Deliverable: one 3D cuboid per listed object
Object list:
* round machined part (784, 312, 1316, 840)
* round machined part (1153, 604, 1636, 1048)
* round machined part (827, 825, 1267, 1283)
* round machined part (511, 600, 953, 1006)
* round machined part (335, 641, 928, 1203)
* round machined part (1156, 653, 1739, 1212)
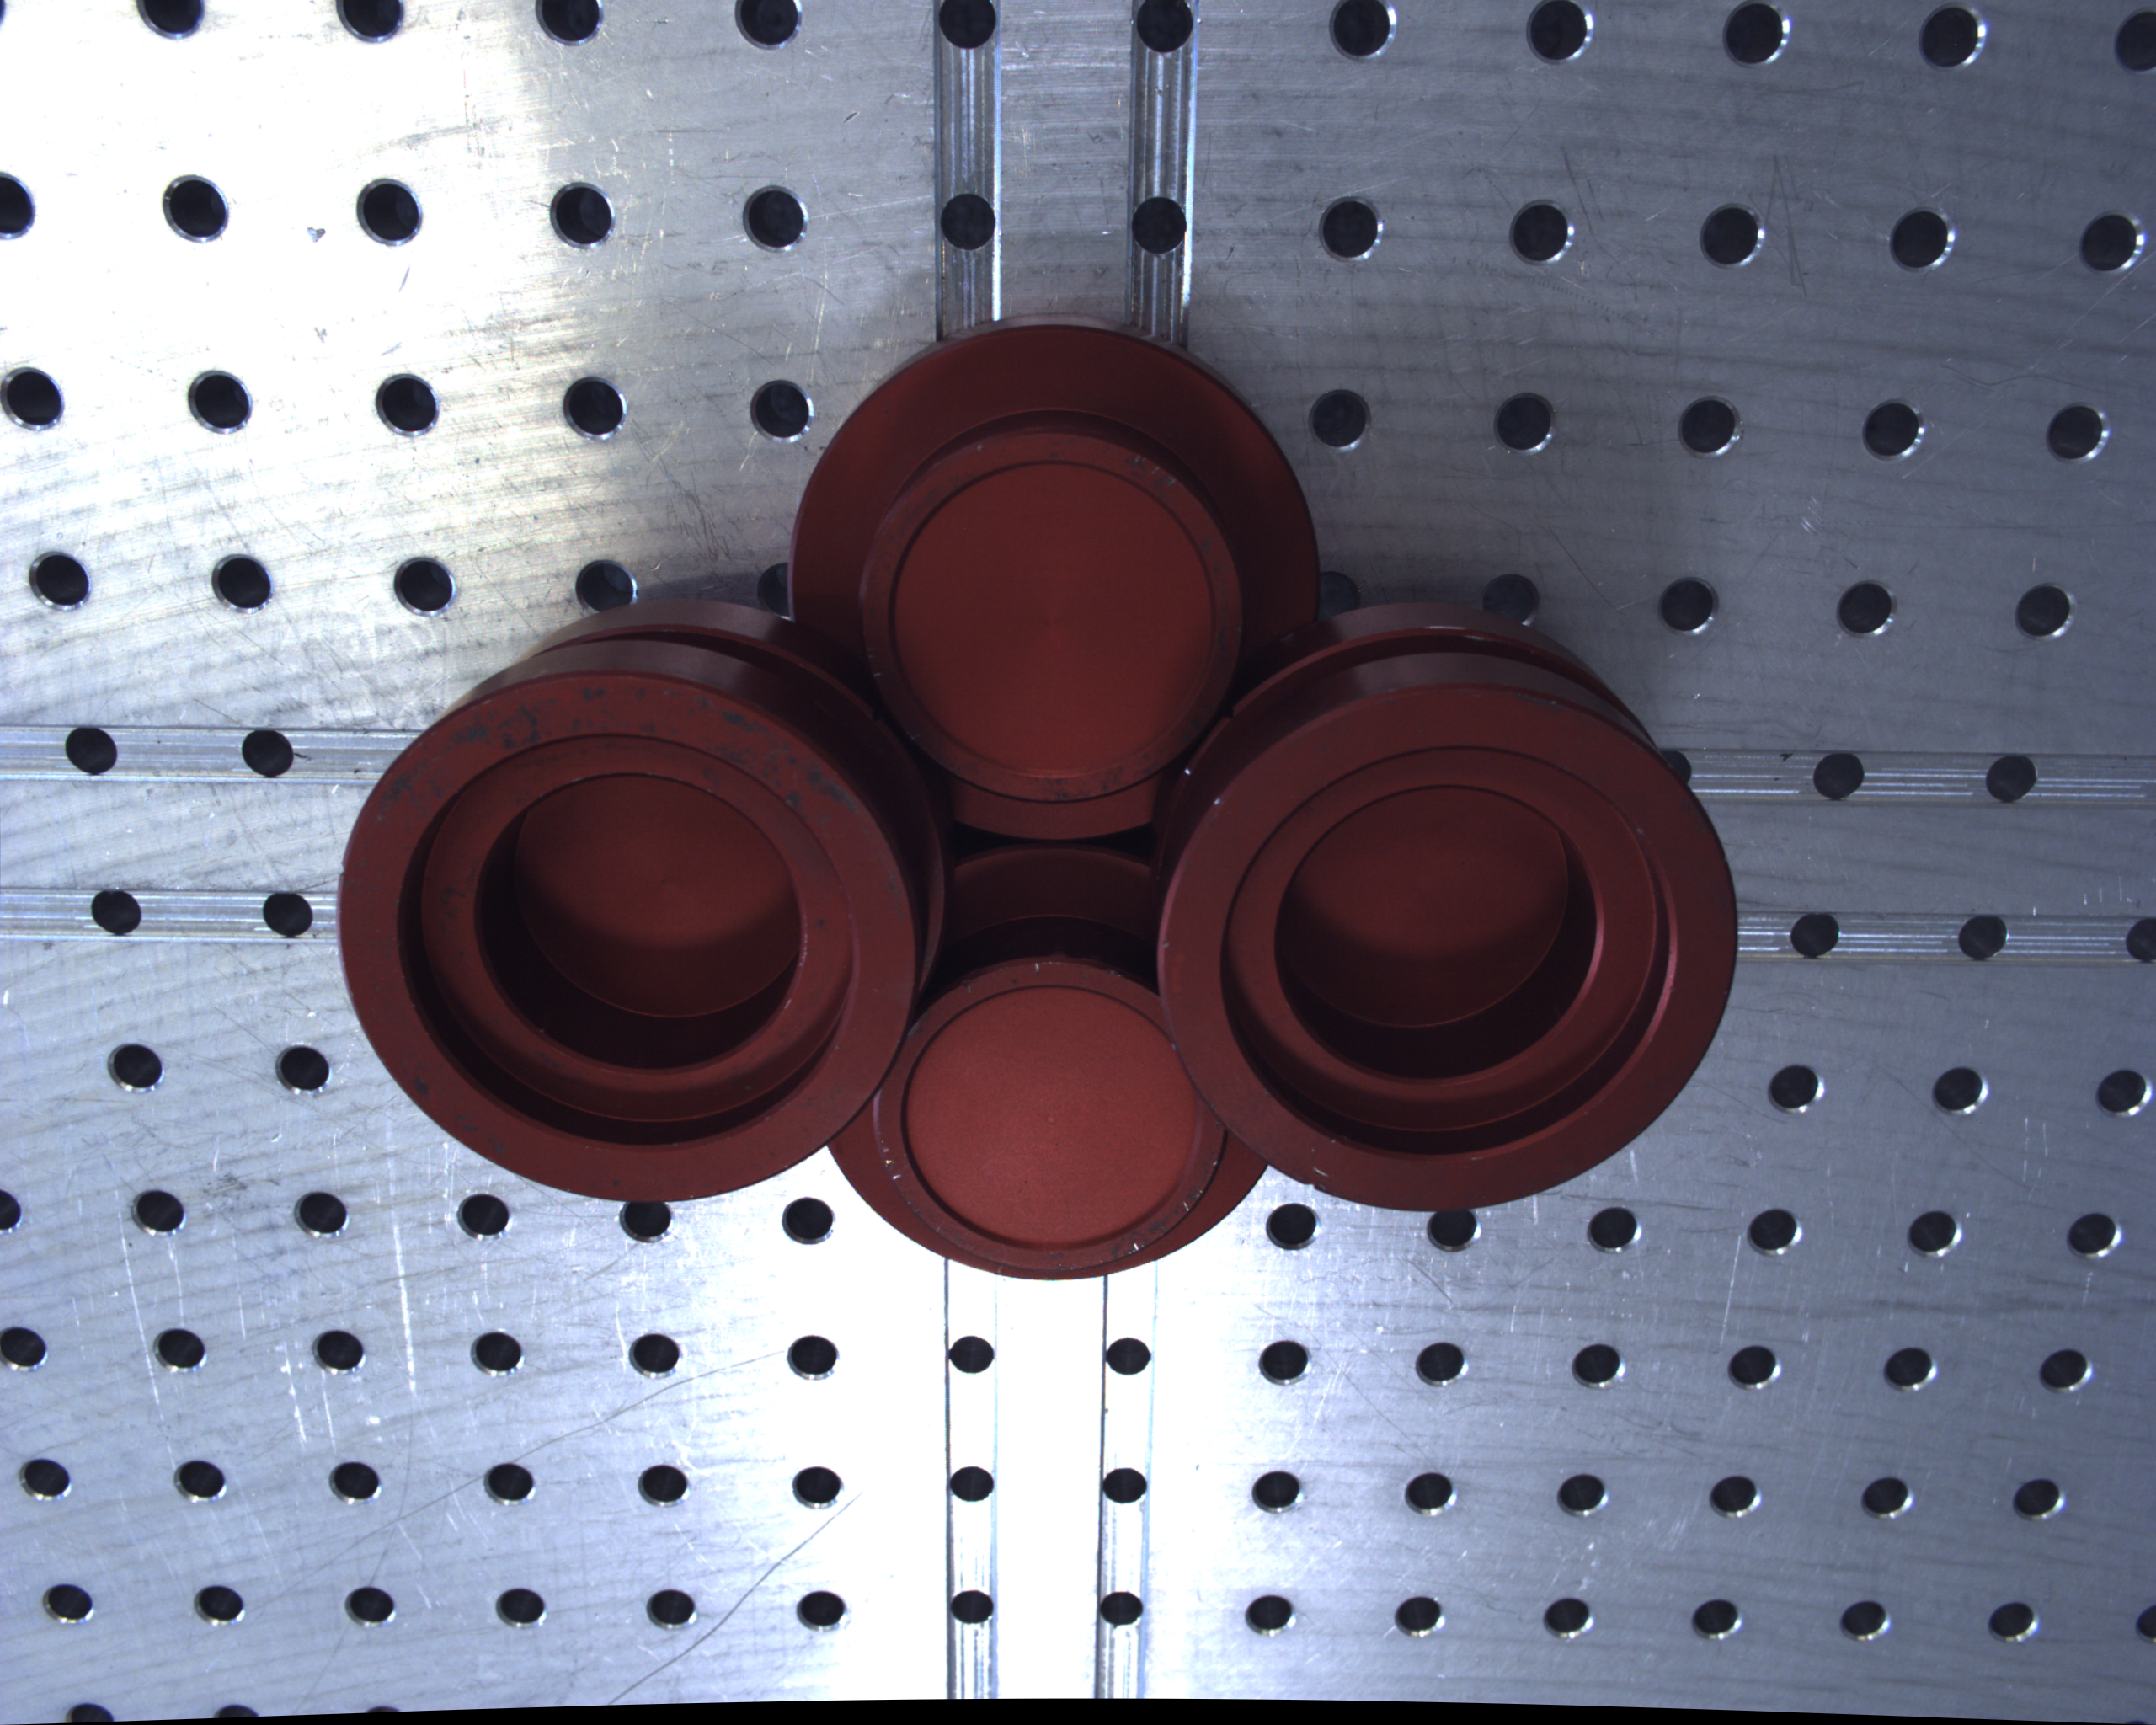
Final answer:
[{"bbox_3d":[-0.005,-0.050,0.386,0.099,0.042,0.097,0,110,0],"label":"round machined part"},{"bbox_3d":[0.063,-0.003,0.403,0.099,0.042,0.097,0,110,0],"label":"round machined part"},{"bbox_3d":[-0.005,0.043,0.419,0.099,0.042,0.097,0,110,0],"label":"round machined part"},{"bbox_3d":[-0.073,-0.003,0.402,0.099,0.042,0.097,0,110,0],"label":"round machined part"},{"bbox_3d":[-0.076,0.008,0.372,0.099,0.042,0.097,0,110,0],"label":"round machined part"},{"bbox_3d":[0.063,0.010,0.373,0.099,0.042,0.097,0,110,0],"label":"round machined part"}]
